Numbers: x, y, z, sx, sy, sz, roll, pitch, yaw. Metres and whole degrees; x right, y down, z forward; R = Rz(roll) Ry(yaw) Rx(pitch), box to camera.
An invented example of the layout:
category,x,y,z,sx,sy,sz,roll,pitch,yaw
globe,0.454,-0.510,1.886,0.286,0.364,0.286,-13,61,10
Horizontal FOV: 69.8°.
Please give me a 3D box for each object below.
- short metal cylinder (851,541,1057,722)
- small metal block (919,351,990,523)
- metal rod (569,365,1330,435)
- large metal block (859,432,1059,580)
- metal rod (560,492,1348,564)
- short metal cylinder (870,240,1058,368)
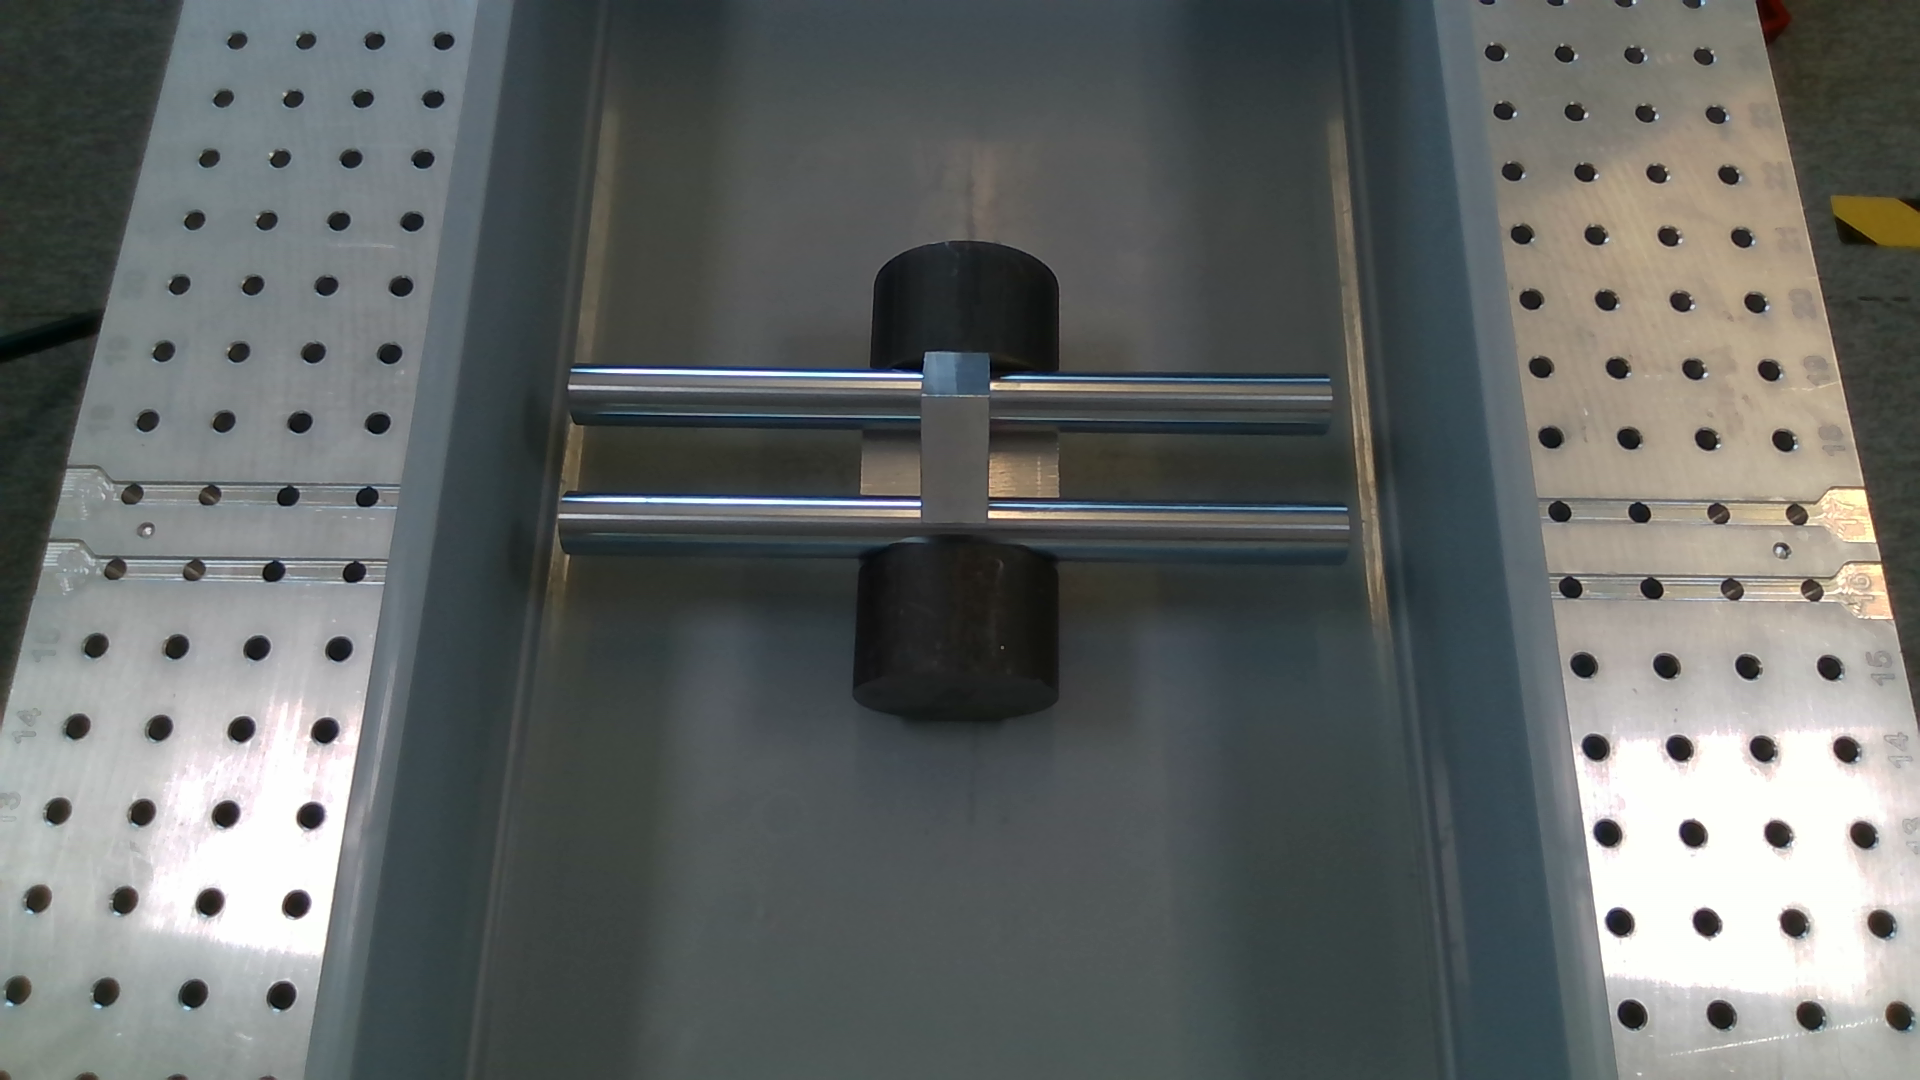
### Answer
category,x,y,z,sx,sy,sz,roll,pitch,yaw
short metal cylinder,-0.002,0.038,0.544,0.080,0.080,0.050,1,69,0
small metal block,-0.002,-0.040,0.521,0.025,0.050,0.050,0,26,0
metal rod,-0.004,-0.056,0.555,0.300,0.025,0.025,1,70,0
large metal block,-0.001,-0.019,0.580,0.080,0.050,0.080,1,70,0
metal rod,-0.002,-0.005,0.536,0.300,0.025,0.025,1,70,0
short metal cylinder,0.002,-0.085,0.588,0.080,0.080,0.050,1,70,0
